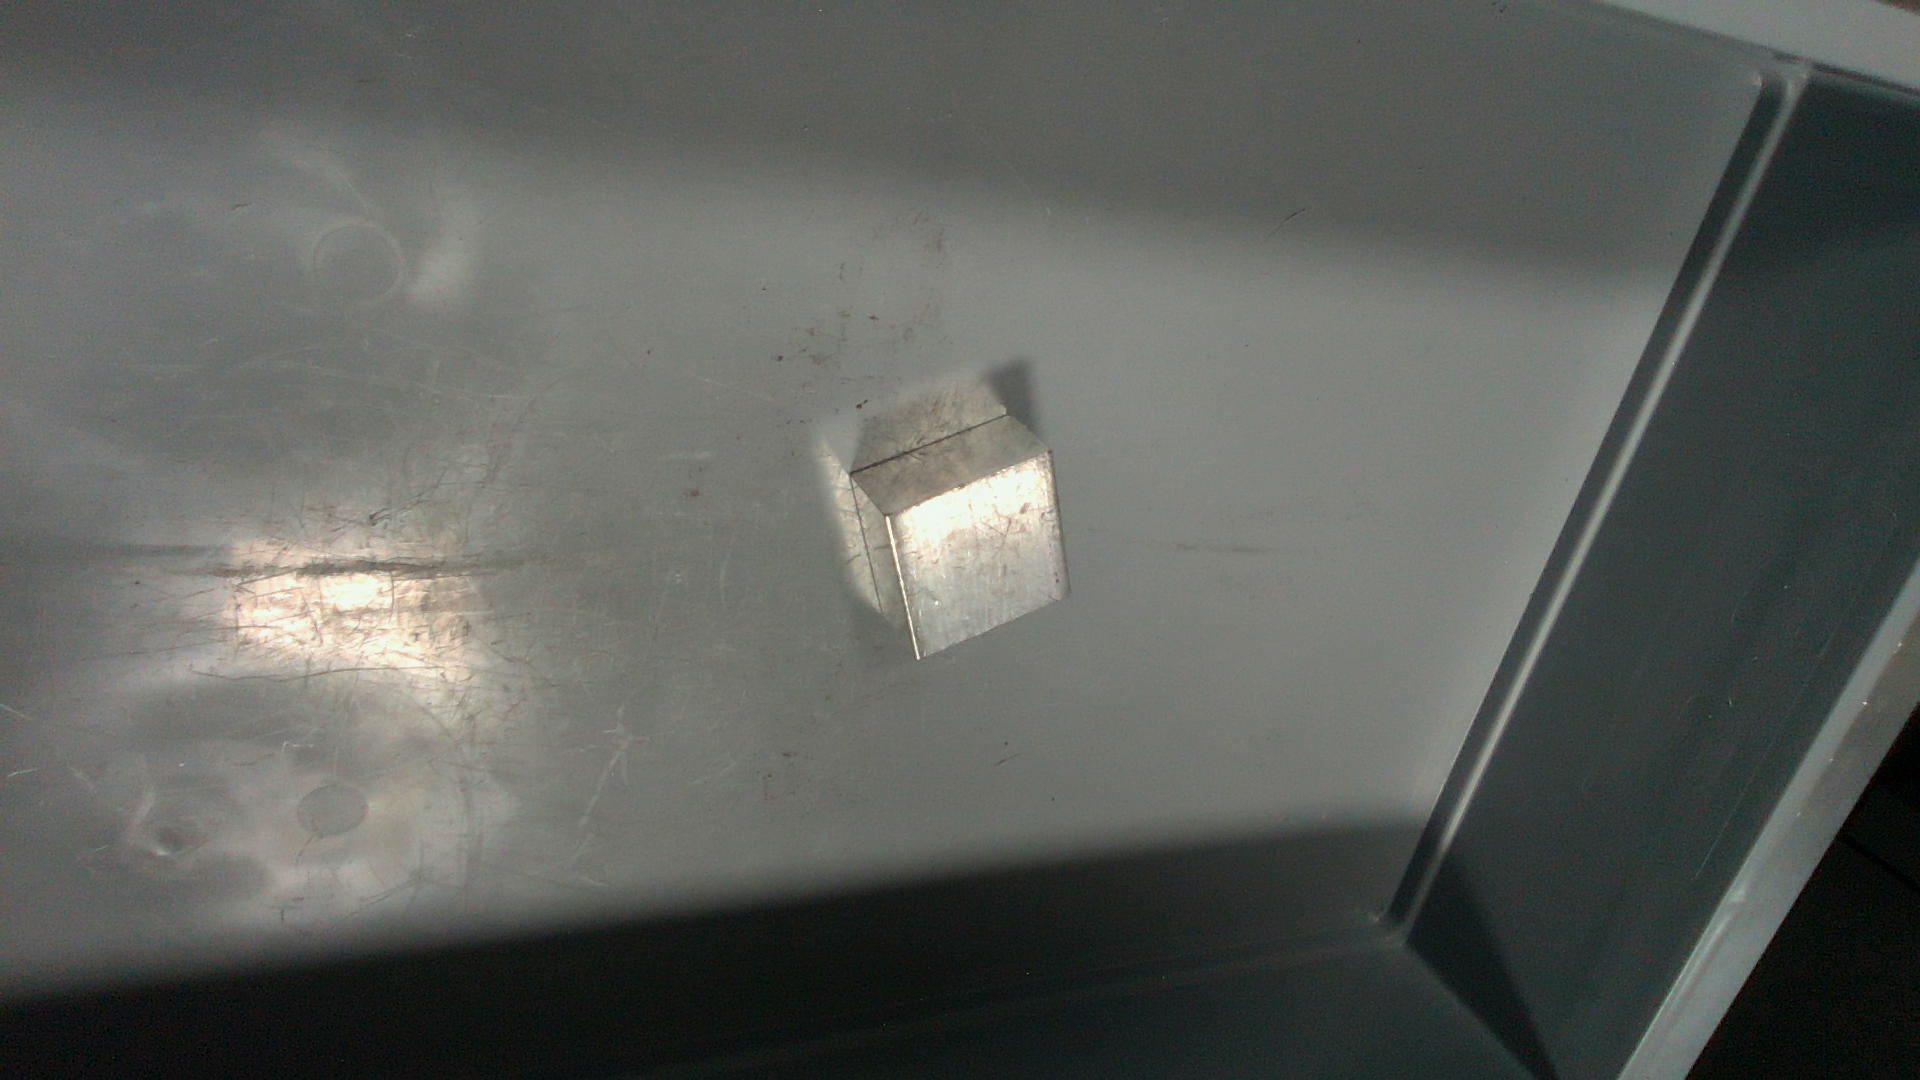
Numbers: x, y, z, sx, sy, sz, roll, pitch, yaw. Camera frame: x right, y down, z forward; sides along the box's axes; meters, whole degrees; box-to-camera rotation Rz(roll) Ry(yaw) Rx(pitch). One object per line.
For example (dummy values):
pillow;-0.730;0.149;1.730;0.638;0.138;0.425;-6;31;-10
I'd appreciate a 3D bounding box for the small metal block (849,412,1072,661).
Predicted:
small metal block;0.001;-0.001;0.385;0.050;0.025;0.050;-21;127;-16
